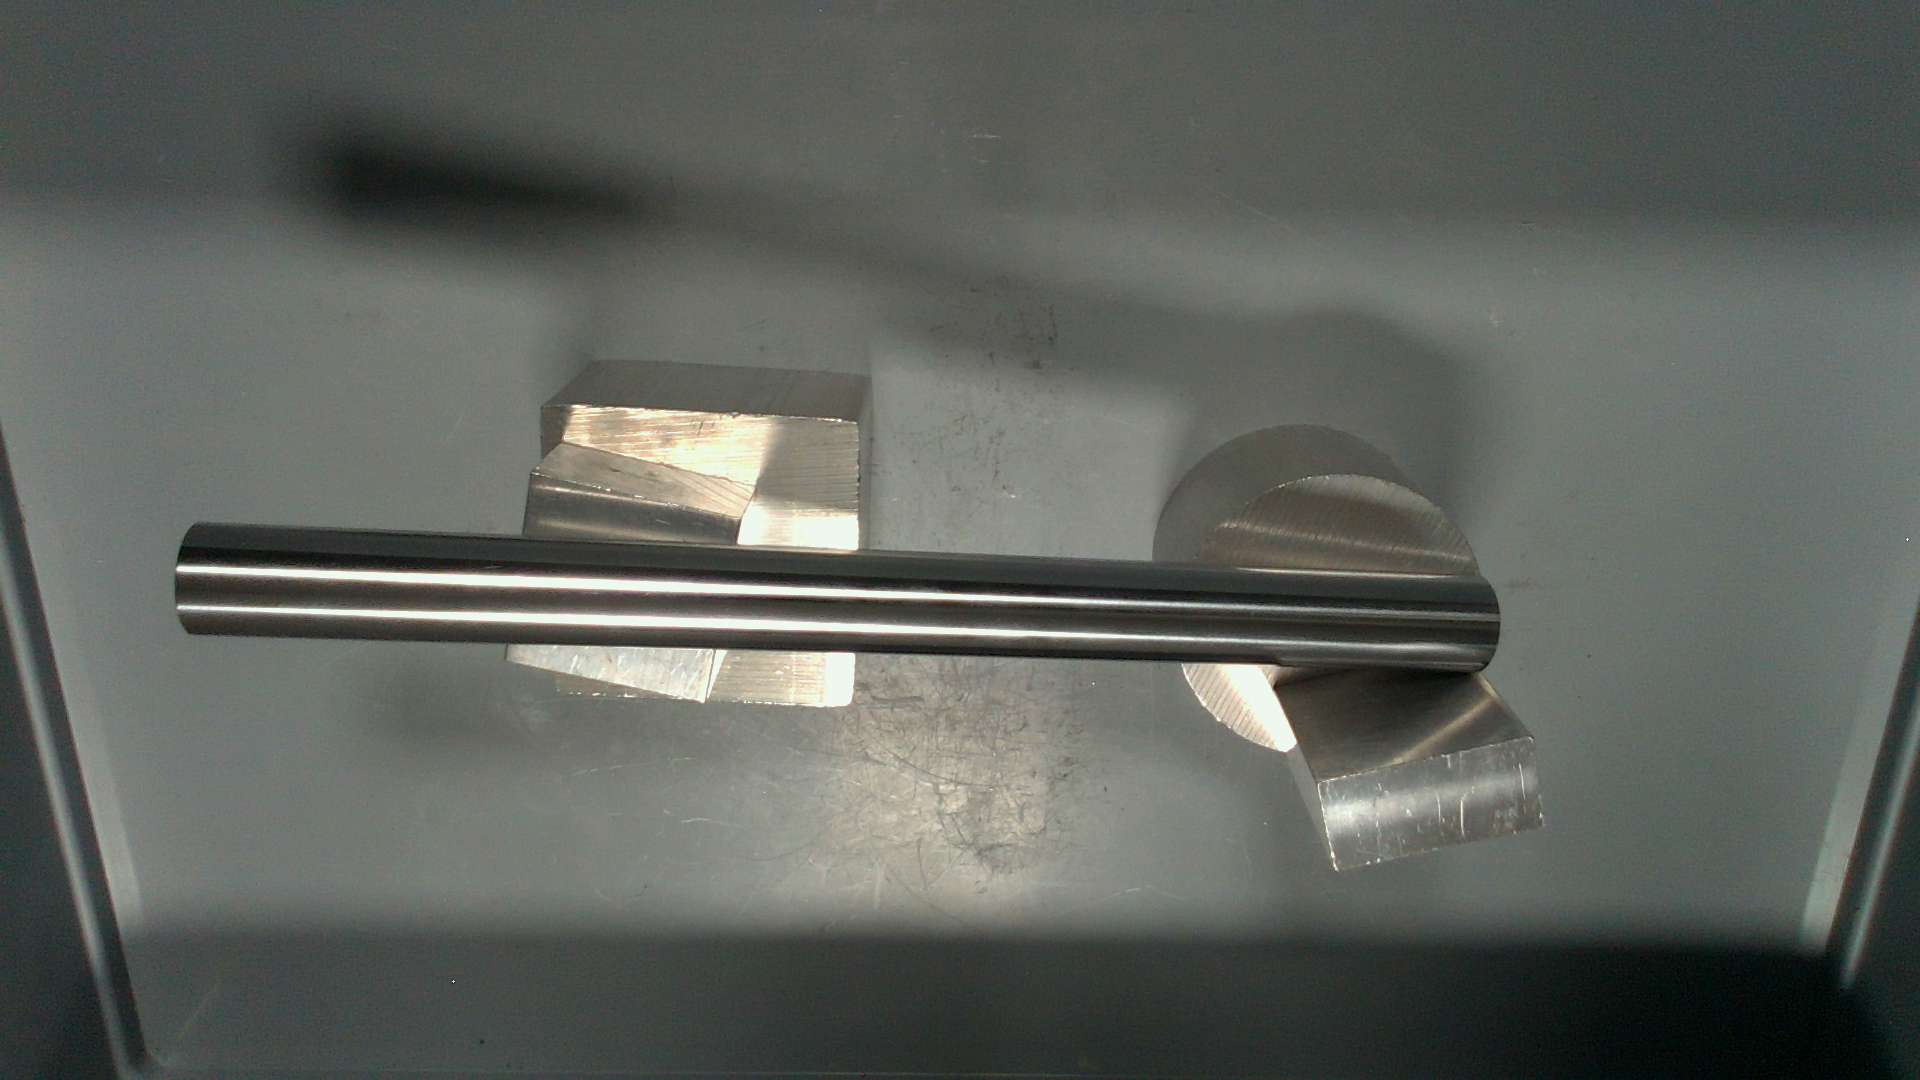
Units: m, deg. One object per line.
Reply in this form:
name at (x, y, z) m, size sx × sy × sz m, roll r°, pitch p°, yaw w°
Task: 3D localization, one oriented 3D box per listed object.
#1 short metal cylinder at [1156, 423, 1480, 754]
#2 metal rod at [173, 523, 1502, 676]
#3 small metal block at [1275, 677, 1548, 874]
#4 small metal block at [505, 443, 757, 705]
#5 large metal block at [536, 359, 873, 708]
short metal cylinder at (0.097, 0.013, 0.384) m, size 0.080 × 0.050 × 0.080 m, roll 0°, pitch 110°, yaw 0°
metal rod at (-0.018, 0.015, 0.323) m, size 0.300 × 0.025 × 0.025 m, roll 3°, pitch 110°, yaw -9°
small metal block at (0.111, 0.054, 0.345) m, size 0.050 × 0.050 × 0.025 m, roll -14°, pitch 110°, yaw 5°
small metal block at (-0.081, 0.008, 0.342) m, size 0.050 × 0.025 × 0.050 m, roll 12°, pitch 109°, yaw -5°
large metal block at (-0.066, -0.003, 0.377) m, size 0.080 × 0.050 × 0.080 m, roll 2°, pitch 110°, yaw -1°
